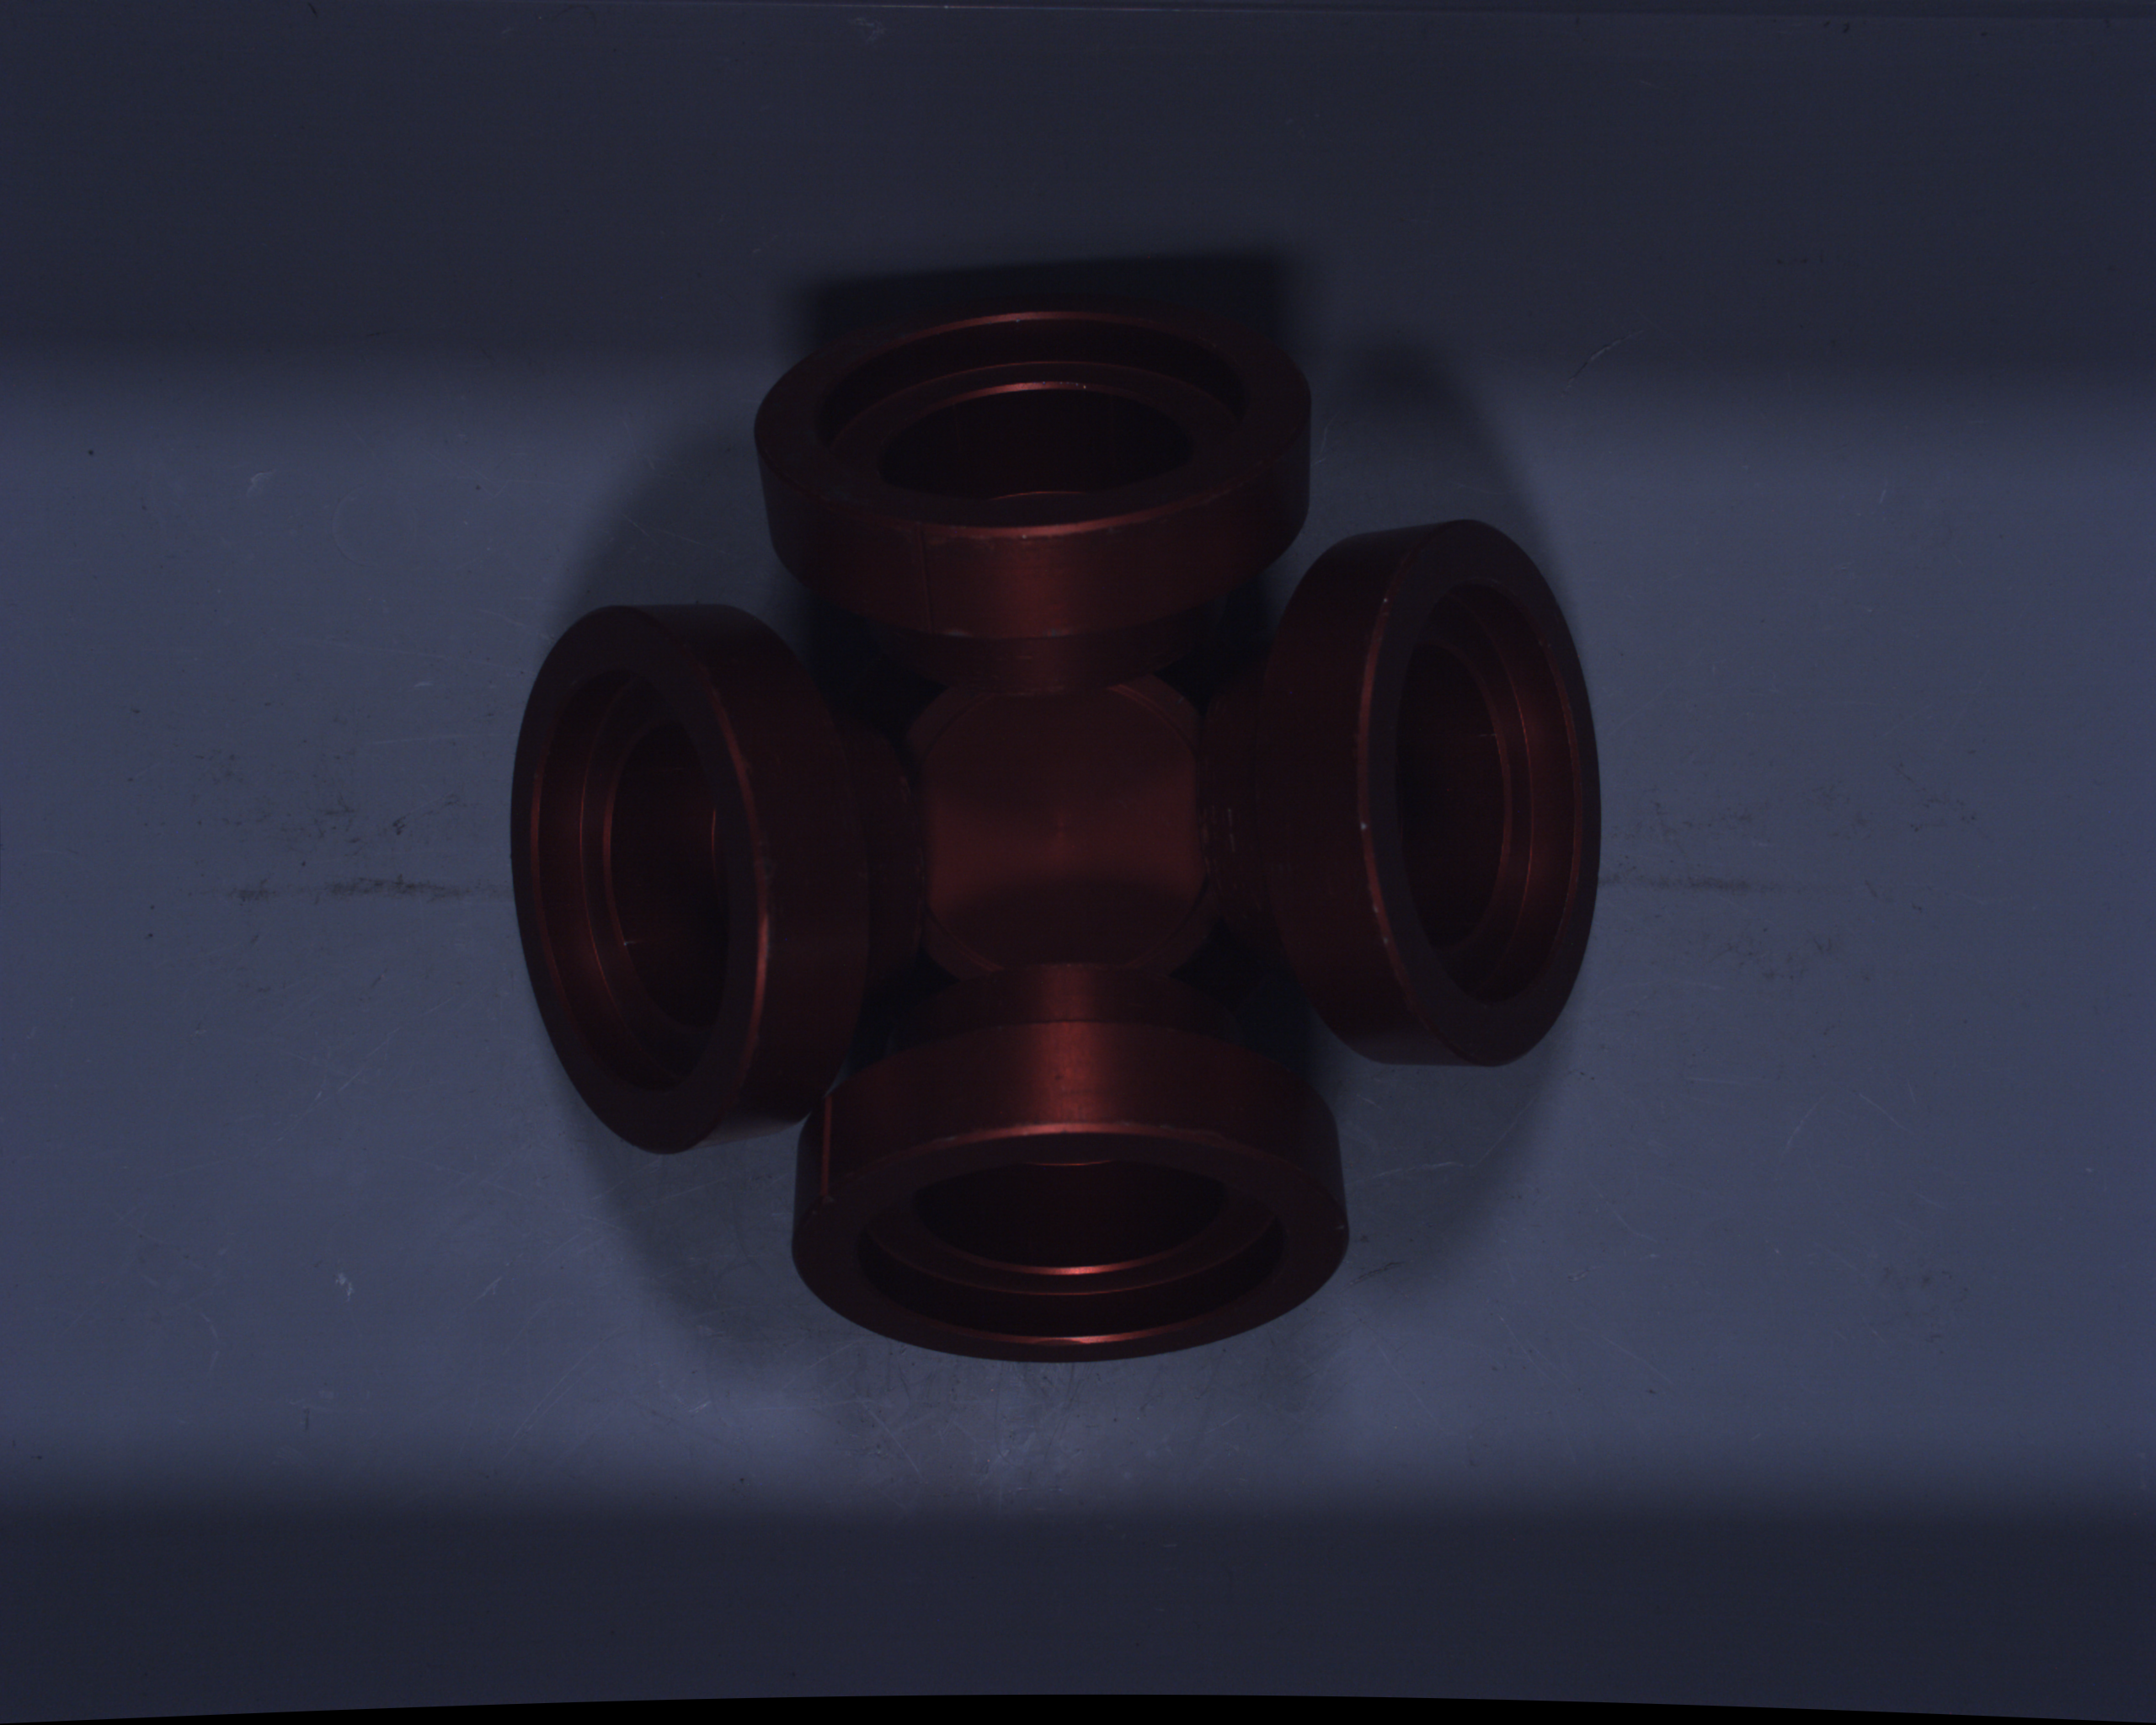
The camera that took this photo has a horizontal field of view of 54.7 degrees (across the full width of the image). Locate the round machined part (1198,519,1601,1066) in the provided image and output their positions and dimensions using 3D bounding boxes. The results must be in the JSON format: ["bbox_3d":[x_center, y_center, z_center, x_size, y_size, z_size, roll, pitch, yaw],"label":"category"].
[{"bbox_3d":[0.058,-0.012,0.384,0.042,0.099,0.097,-3,90,36],"label":"round machined part"}]

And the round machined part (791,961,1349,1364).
[{"bbox_3d":[-0.002,0.054,0.382,0.099,0.097,0.042,-1,54,-1],"label":"round machined part"}]

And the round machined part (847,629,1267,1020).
[{"bbox_3d":[-0.003,-0.006,0.401,0.099,0.042,0.097,0,90,-1],"label":"round machined part"}]

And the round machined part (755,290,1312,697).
[{"bbox_3d":[-0.007,-0.066,0.382,0.099,0.098,0.042,-4,128,-1],"label":"round machined part"}]

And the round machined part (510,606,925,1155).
[{"bbox_3d":[-0.064,0.002,0.382,0.042,0.098,0.097,-7,90,-38],"label":"round machined part"}]
